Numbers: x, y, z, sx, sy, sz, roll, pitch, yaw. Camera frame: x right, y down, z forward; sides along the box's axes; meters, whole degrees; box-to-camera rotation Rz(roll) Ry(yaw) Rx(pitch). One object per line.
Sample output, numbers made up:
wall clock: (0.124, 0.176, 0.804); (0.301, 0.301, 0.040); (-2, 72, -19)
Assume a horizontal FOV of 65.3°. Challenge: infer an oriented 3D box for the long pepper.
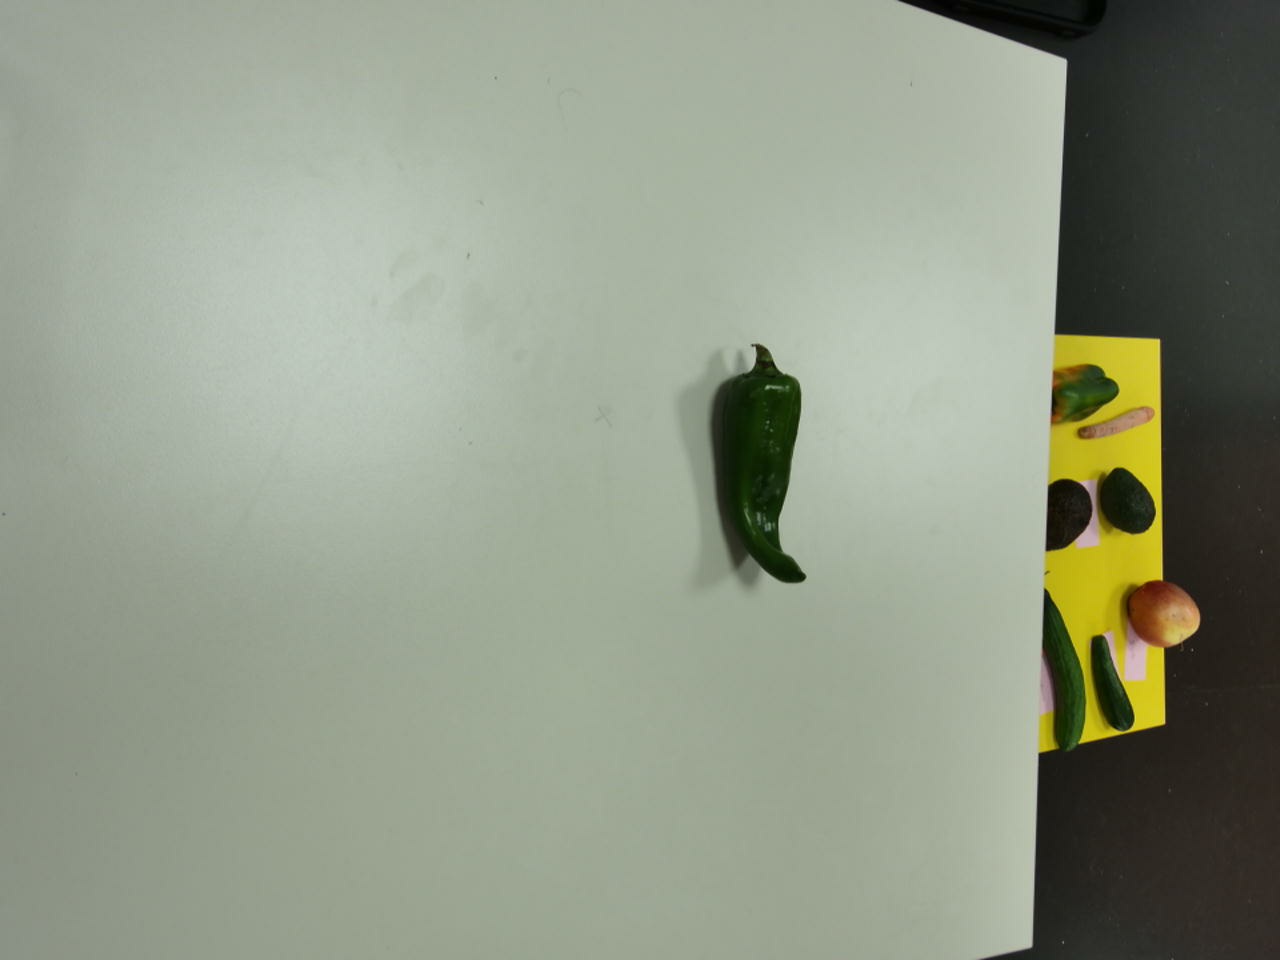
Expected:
long pepper: (0.091, -0.013, 0.721); (0.058, 0.065, 0.175); (1, 90, -28)
